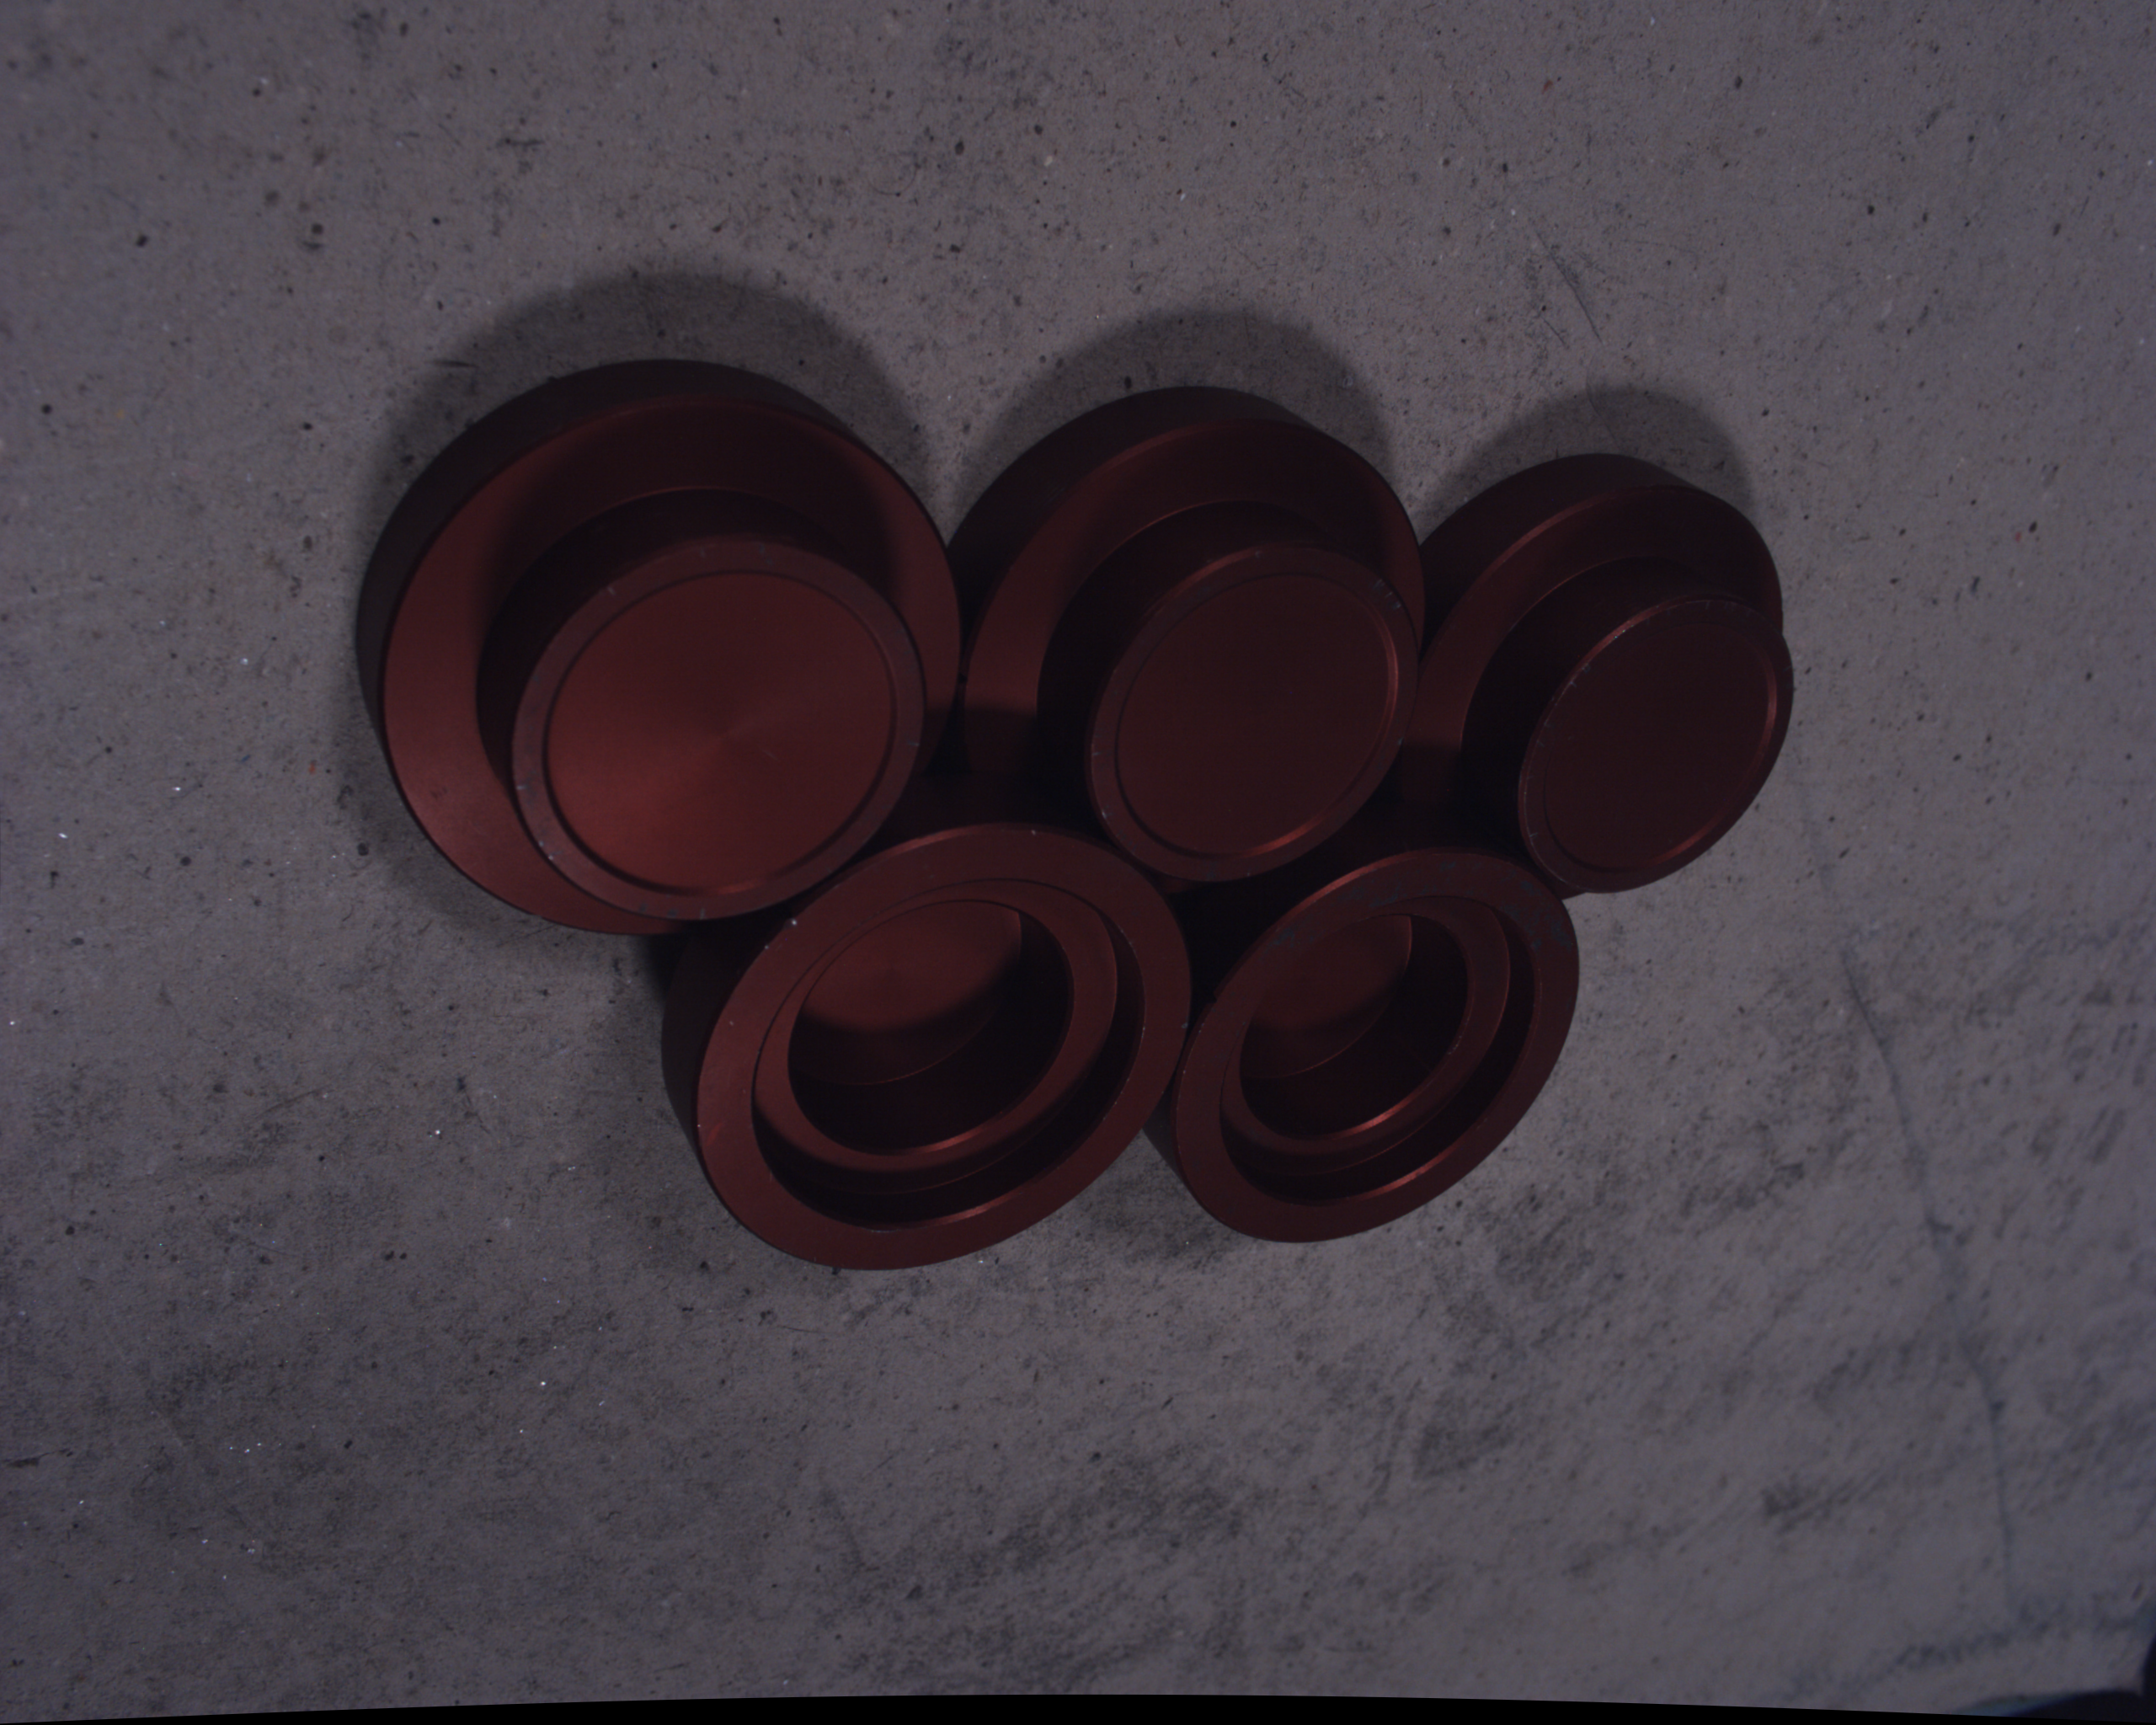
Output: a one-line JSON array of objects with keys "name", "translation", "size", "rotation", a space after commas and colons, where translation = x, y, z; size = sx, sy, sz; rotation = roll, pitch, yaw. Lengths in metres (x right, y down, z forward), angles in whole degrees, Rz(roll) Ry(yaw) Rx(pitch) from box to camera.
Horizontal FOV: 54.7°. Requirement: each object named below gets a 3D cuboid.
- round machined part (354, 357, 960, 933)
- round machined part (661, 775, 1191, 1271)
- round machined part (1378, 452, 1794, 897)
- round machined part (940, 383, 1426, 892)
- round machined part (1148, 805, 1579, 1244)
[{"name": "round machined part", "translation": [-0.065, -0.030, 0.345], "size": [0.099, 0.042, 0.097], "rotation": [-14, 125, -21]}, {"name": "round machined part", "translation": [-0.031, 0.026, 0.398], "size": [0.099, 0.042, 0.097], "rotation": [-14, 125, -21]}, {"name": "round machined part", "translation": [0.110, -0.033, 0.439], "size": [0.099, 0.042, 0.097], "rotation": [-14, 125, -21]}, {"name": "round machined part", "translation": [0.024, -0.036, 0.390], "size": [0.099, 0.042, 0.097], "rotation": [-14, 125, -21]}, {"name": "round machined part", "translation": [0.054, 0.030, 0.448], "size": [0.099, 0.042, 0.097], "rotation": [-14, 125, -21]}]
